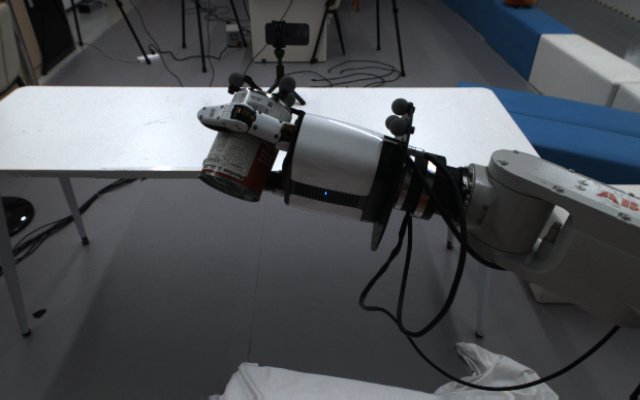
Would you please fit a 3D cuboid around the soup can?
[{"bbox_3d":[-0.076,-0.057,0.512,0.067,0.067,0.101,15,75,18],"label":"soup can"}]
